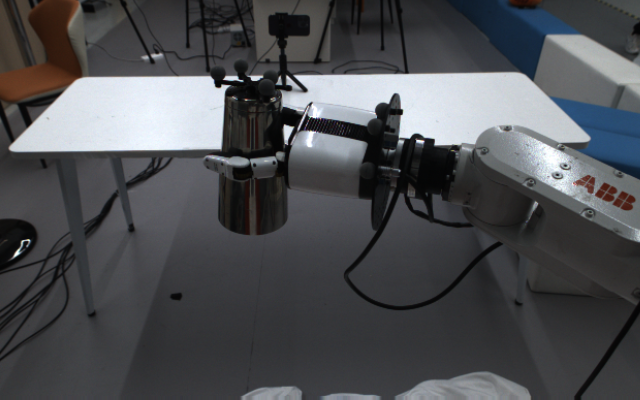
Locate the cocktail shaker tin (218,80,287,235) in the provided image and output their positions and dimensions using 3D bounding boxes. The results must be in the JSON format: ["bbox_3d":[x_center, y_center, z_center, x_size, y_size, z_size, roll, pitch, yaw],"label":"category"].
[{"bbox_3d":[-0.082,-0.053,0.599,0.093,0.170,0.093,3,32,-2],"label":"cocktail shaker tin"}]
